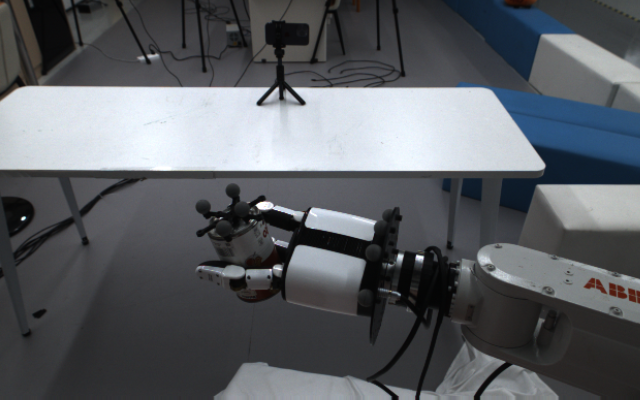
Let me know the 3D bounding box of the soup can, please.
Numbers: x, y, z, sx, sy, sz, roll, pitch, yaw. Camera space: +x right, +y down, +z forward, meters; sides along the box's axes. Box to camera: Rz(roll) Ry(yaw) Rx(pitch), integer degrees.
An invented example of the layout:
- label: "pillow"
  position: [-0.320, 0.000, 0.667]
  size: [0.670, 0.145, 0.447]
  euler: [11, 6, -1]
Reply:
- label: "soup can"
  position: [-0.084, 0.065, 0.583]
  size: [0.067, 0.101, 0.067]
  euler: [-13, 31, 8]
